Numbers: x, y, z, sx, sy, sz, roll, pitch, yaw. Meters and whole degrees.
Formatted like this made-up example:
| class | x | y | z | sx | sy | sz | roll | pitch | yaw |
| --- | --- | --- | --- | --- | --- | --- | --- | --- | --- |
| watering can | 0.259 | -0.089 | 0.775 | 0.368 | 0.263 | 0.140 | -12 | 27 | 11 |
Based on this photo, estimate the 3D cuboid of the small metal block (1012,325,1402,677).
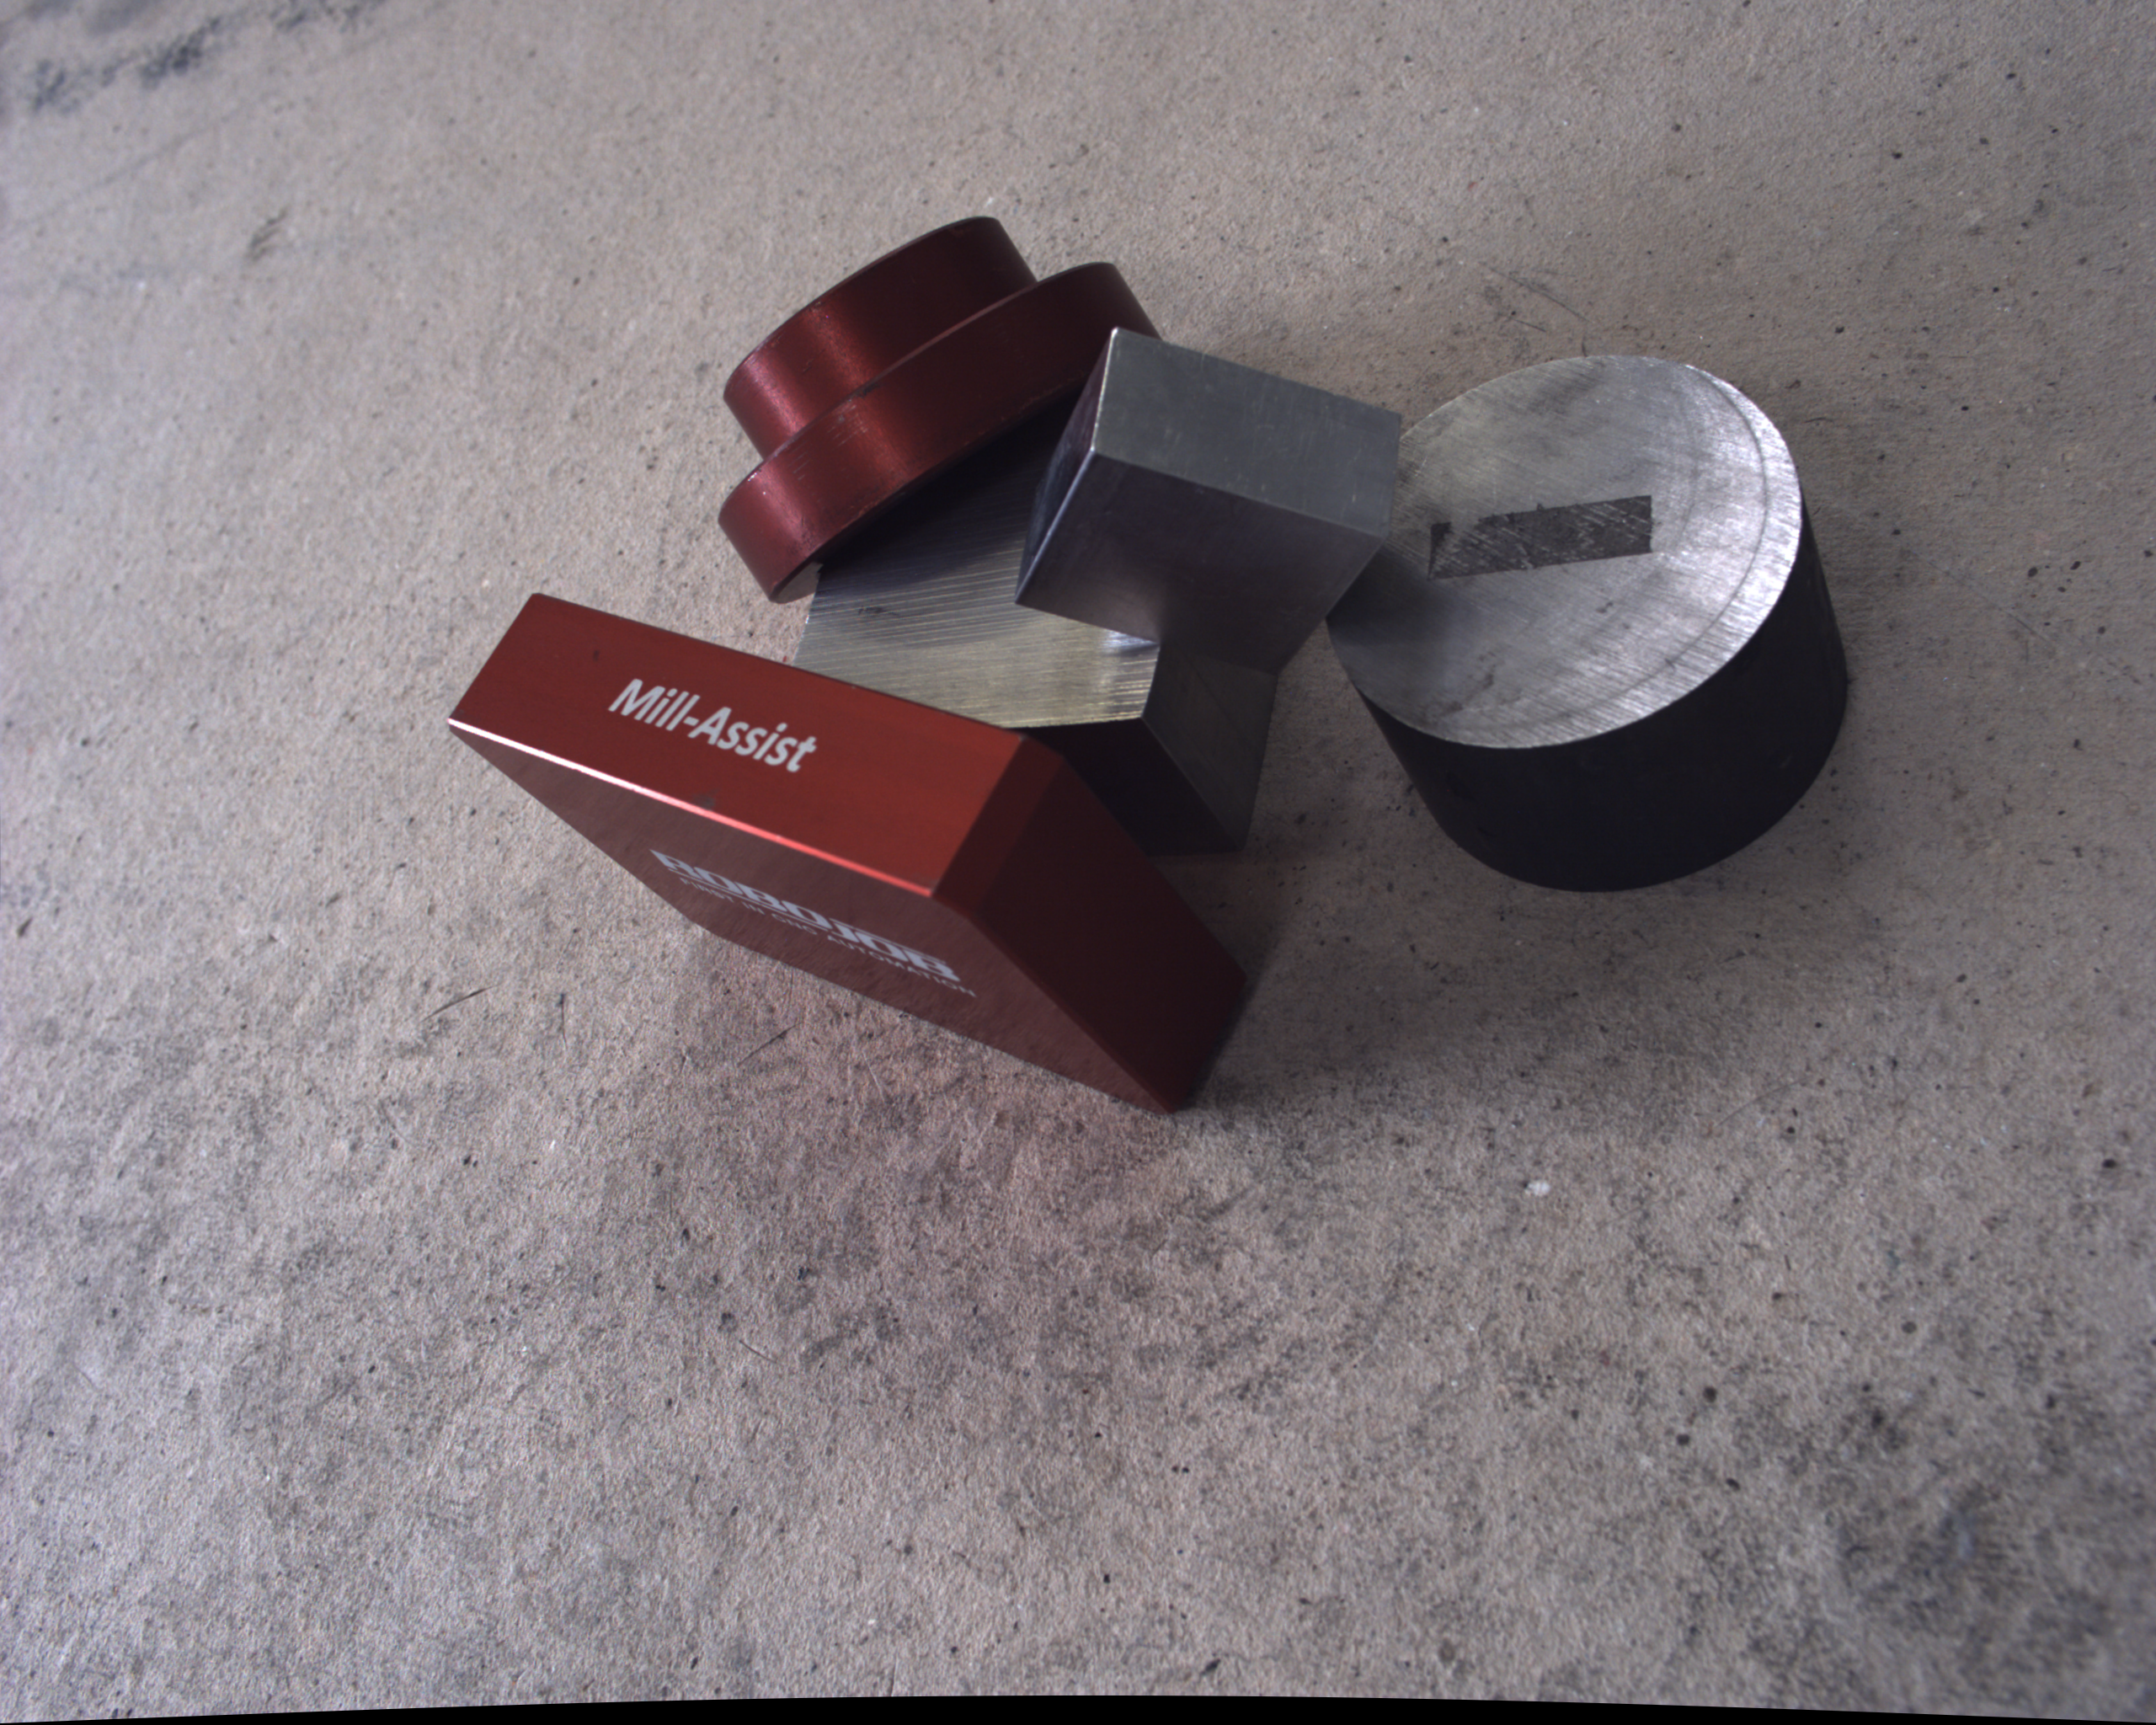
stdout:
| class | x | y | z | sx | sy | sz | roll | pitch | yaw |
| --- | --- | --- | --- | --- | --- | --- | --- | --- | --- |
| small metal block | 0.021 | -0.060 | 0.356 | 0.050 | 0.050 | 0.025 | 14 | 65 | -11 |

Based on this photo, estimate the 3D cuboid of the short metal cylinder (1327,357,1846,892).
| class | x | y | z | sx | sy | sz | roll | pitch | yaw |
| --- | --- | --- | --- | --- | --- | --- | --- | --- | --- |
| short metal cylinder | 0.090 | -0.042 | 0.369 | 0.080 | 0.050 | 0.080 | -13 | 56 | 21 |

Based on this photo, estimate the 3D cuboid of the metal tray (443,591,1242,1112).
| class | x | y | z | sx | sy | sz | roll | pitch | yaw |
| --- | --- | --- | --- | --- | --- | --- | --- | --- | --- |
| metal tray | -0.044 | -0.002 | 0.387 | 0.130 | 0.090 | 0.030 | 18 | 72 | 35 |

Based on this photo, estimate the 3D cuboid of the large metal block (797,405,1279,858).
| class | x | y | z | sx | sy | sz | roll | pitch | yaw |
| --- | --- | --- | --- | --- | --- | --- | --- | --- | --- |
| large metal block | -0.005 | -0.047 | 0.422 | 0.080 | 0.050 | 0.080 | -1 | 61 | 27 |

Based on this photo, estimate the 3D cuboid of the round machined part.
| class | x | y | z | sx | sy | sz | roll | pitch | yaw |
| --- | --- | --- | --- | --- | --- | --- | --- | --- | --- |
| round machined part | -0.035 | -0.098 | 0.436 | 0.098 | 0.098 | 0.042 | -32 | 96 | 7 |
